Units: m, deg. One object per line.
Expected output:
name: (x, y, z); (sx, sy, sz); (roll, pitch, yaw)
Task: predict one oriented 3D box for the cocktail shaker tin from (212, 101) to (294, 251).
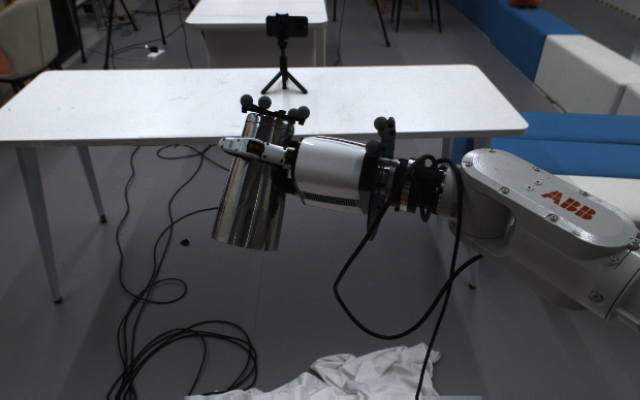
cocktail shaker tin: (-0.081, -0.027, 0.653); (0.093, 0.170, 0.093); (13, 1, 0)
